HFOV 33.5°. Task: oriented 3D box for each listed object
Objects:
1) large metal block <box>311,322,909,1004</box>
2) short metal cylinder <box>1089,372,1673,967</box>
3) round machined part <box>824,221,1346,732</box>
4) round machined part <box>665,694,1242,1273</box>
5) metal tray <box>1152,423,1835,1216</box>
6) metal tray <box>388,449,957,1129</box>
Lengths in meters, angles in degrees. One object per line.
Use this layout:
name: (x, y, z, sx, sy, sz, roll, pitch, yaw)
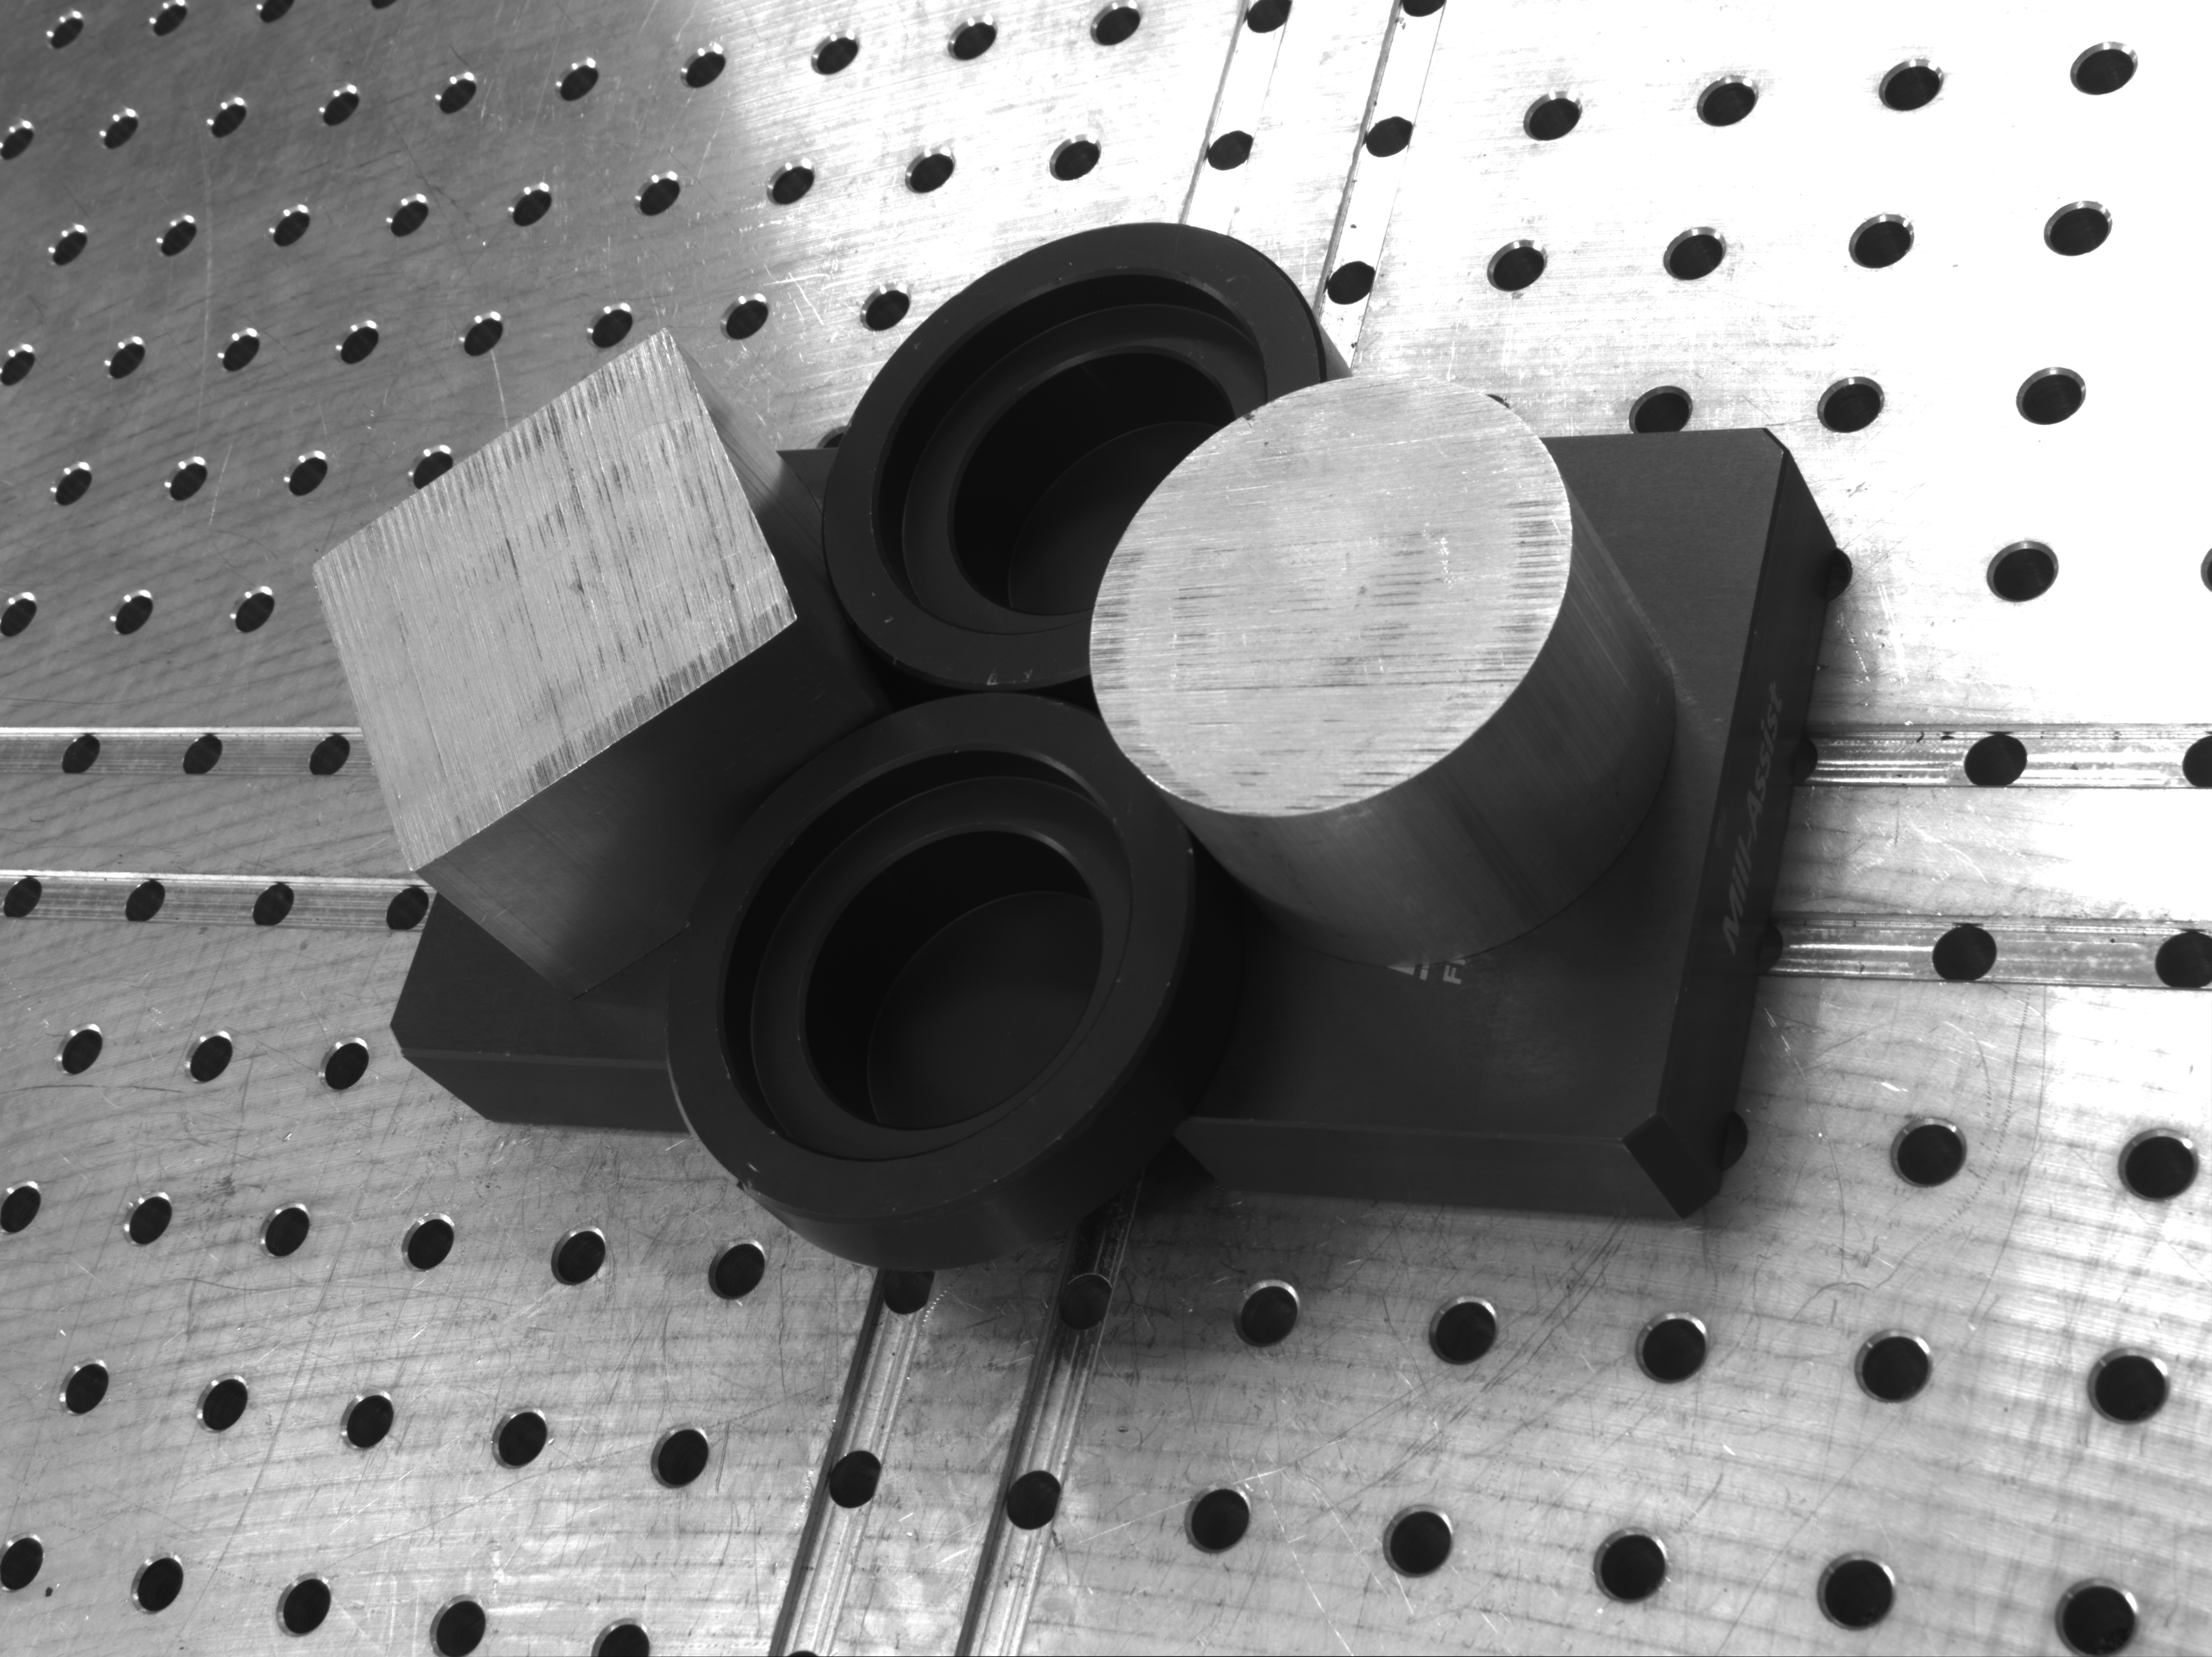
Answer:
large metal block: (-0.087, -0.030, 0.659, 0.080, 0.050, 0.080, -32, 51, 8)
short metal cylinder: (0.044, -0.025, 0.584, 0.080, 0.050, 0.080, -14, 56, 21)
round machined part: (0.002, -0.057, 0.660, 0.098, 0.042, 0.098, -14, 56, 21)
round machined part: (-0.022, 0.030, 0.619, 0.098, 0.042, 0.098, -14, 56, 21)
metal tray: (0.064, -0.004, 0.610, 0.090, 0.030, 0.130, 1, 62, 29)
metal tray: (-0.072, -0.009, 0.690, 0.090, 0.030, 0.130, 1, 62, 28)
